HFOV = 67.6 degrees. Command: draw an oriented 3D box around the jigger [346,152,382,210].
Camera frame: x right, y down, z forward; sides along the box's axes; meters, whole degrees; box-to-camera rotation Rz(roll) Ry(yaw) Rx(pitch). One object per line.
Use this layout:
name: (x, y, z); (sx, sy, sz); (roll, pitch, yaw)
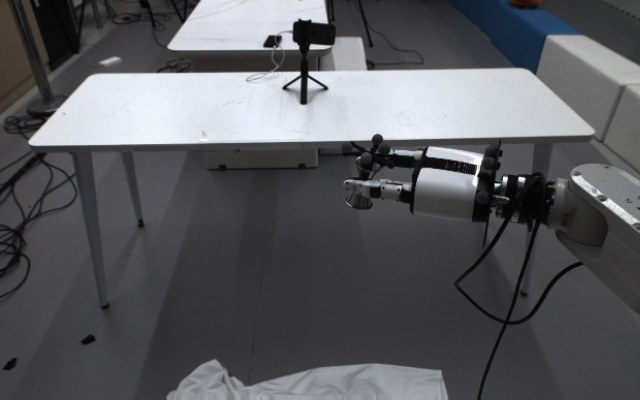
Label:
jigger: (0.067, -0.025, 0.752); (0.043, 0.071, 0.043); (9, 30, -5)
